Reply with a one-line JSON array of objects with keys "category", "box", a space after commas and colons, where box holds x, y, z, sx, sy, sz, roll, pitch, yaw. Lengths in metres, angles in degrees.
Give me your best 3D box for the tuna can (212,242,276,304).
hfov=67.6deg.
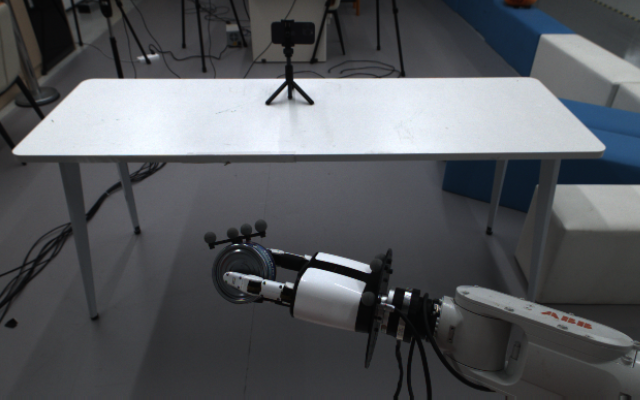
[{"category": "tuna can", "box": [-0.103, 0.107, 0.674, 0.085, 0.085, 0.034, 12, 3, 14]}]
